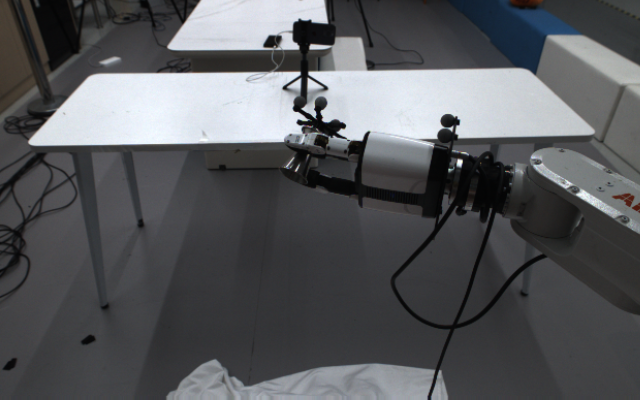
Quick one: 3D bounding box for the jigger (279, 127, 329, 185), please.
[{"bbox_3d":[-0.023,-0.064,0.653,0.043,0.043,0.071,20,73,24],"label":"jigger"}]
